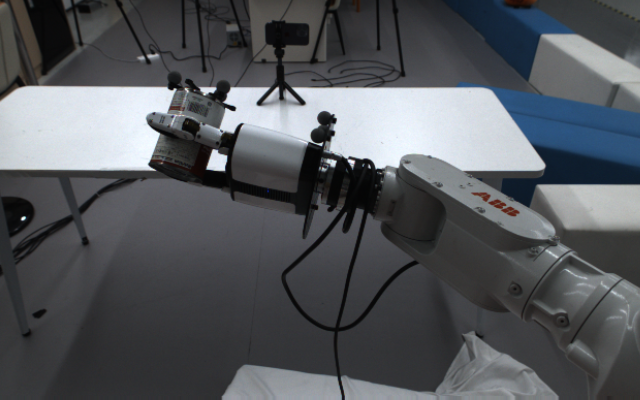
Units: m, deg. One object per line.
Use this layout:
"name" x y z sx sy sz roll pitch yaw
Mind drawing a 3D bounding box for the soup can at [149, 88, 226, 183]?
"soup can" -0.165 -0.079 0.609 0.067 0.067 0.101 13 79 15
